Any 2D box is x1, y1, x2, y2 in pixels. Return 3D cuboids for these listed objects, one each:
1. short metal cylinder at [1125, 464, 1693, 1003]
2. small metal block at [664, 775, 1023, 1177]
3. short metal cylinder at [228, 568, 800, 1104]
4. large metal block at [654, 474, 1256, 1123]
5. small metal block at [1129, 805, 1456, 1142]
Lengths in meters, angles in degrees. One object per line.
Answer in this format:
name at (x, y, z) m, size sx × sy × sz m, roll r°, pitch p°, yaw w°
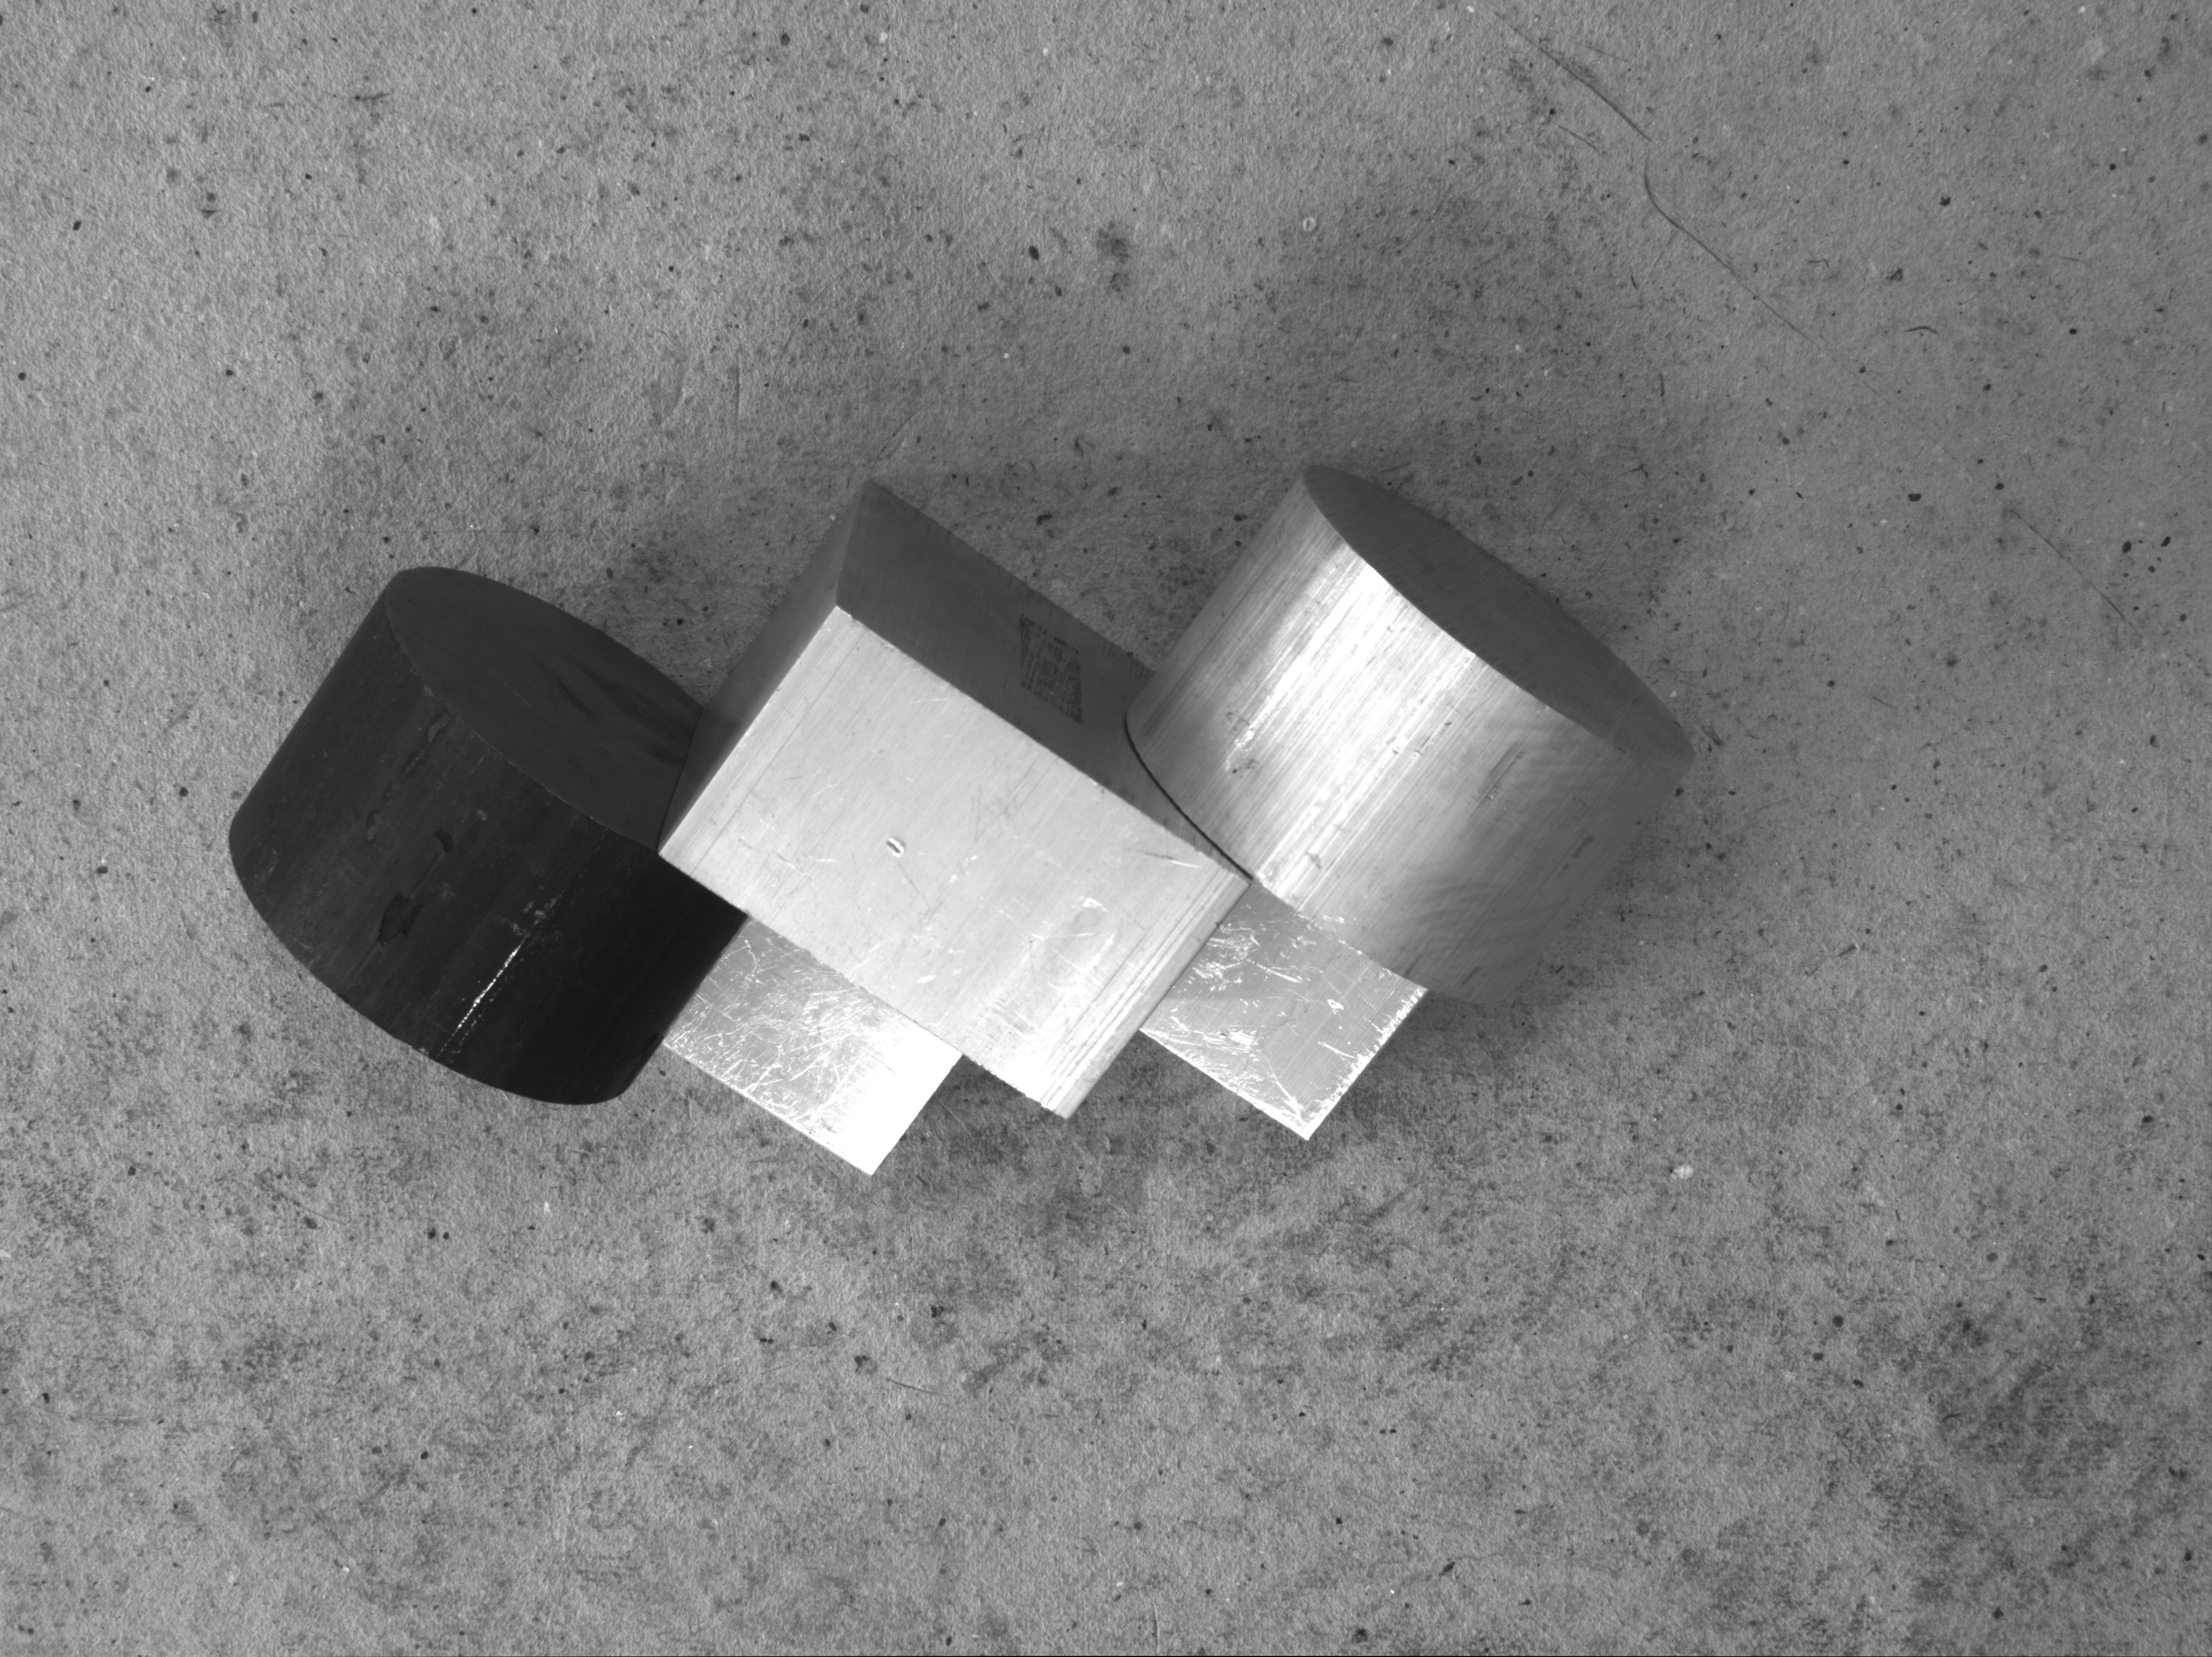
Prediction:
short metal cylinder at (0.050, -0.016, 0.609) m, size 0.080 × 0.080 × 0.050 m, roll 34°, pitch 107°, yaw -11°
small metal block at (-0.048, 0.025, 0.654) m, size 0.050 × 0.025 × 0.050 m, roll 33°, pitch 107°, yaw -11°
short metal cylinder at (-0.099, 0.001, 0.615) m, size 0.080 × 0.080 × 0.050 m, roll 33°, pitch 107°, yaw -11°
large metal block at (-0.024, -0.007, 0.613) m, size 0.080 × 0.080 × 0.050 m, roll 33°, pitch 106°, yaw -11°
small metal block at (0.030, 0.019, 0.652) m, size 0.050 × 0.025 × 0.050 m, roll 33°, pitch 107°, yaw -11°
